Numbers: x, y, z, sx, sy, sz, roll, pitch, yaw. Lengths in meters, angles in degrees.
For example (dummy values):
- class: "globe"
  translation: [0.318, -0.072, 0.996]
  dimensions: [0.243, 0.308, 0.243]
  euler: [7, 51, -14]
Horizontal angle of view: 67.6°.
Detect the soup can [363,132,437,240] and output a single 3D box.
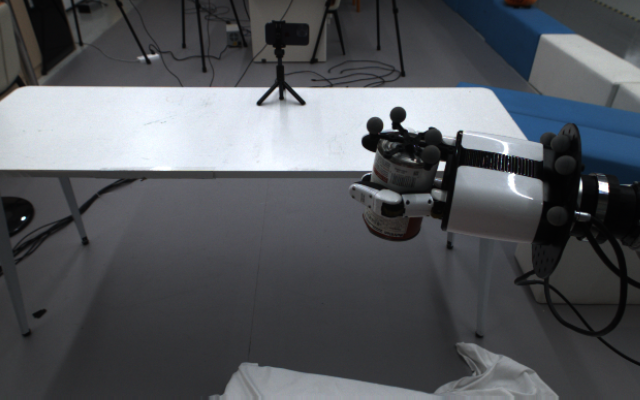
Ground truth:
- class: "soup can"
  translation: [0.089, -0.015, 0.531]
  dimensions: [0.067, 0.101, 0.067]
  euler: [5, 37, -4]
